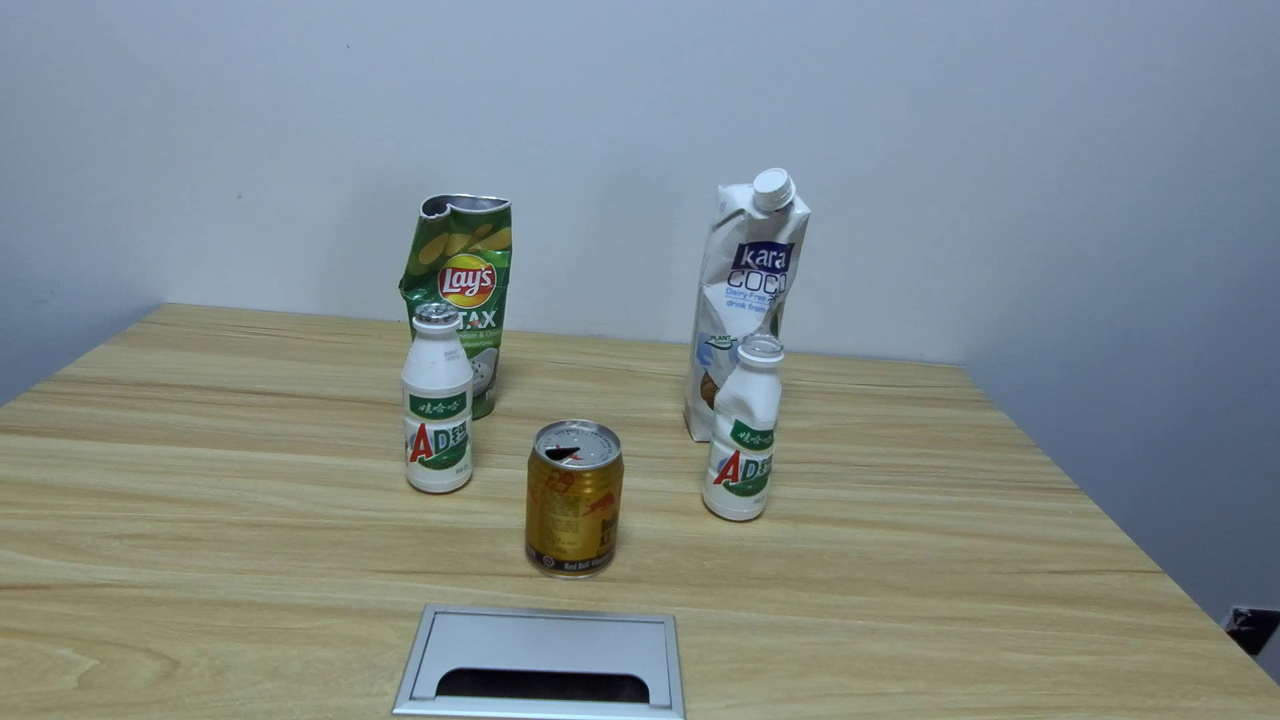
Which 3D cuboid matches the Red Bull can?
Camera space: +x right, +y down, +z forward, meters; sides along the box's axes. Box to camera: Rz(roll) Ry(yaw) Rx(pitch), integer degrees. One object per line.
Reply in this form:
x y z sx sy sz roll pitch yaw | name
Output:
-0.046 0.096 0.493 0.067 0.093 0.067 5 26 -2 | Red Bull can

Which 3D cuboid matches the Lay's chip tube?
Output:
-0.165 -0.046 0.642 0.069 0.201 0.077 17 30 21 | Lay's chip tube

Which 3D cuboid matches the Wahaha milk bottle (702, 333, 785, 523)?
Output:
0.083 0.053 0.545 0.055 0.149 0.055 4 28 -2 | Wahaha milk bottle

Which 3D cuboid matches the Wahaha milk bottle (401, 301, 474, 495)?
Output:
-0.157 0.030 0.544 0.053 0.147 0.053 5 25 -2 | Wahaha milk bottle
